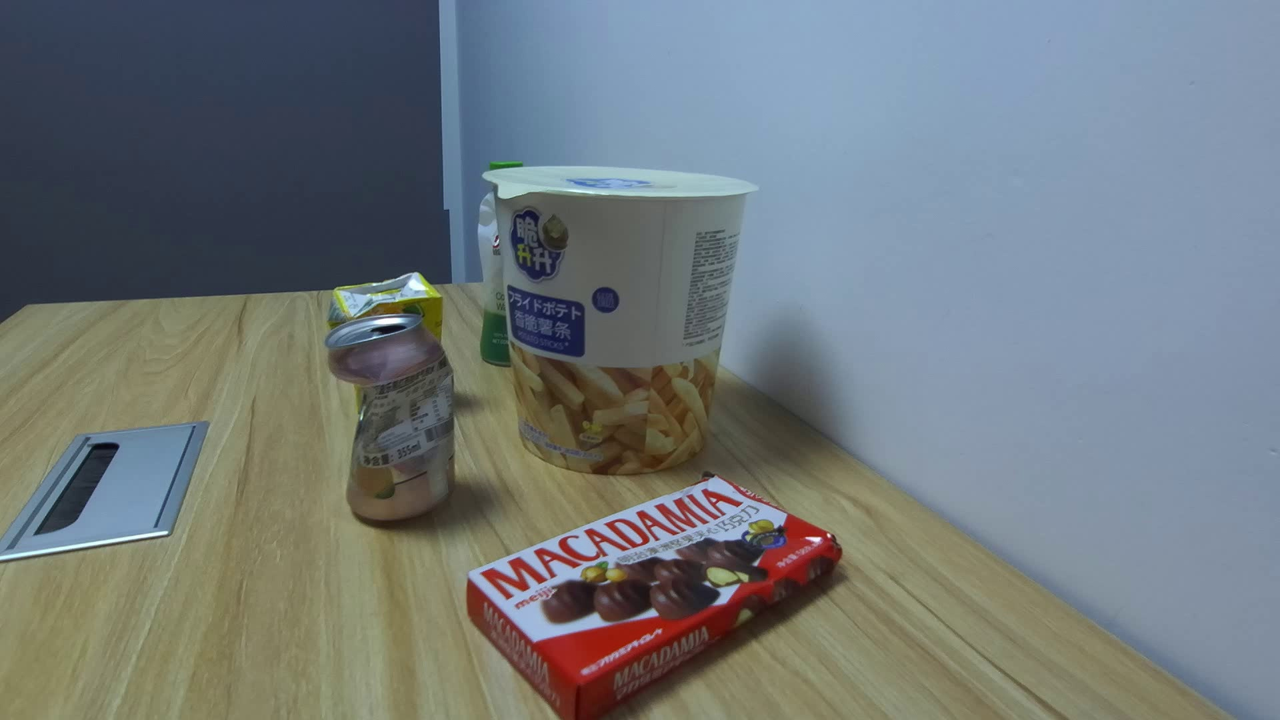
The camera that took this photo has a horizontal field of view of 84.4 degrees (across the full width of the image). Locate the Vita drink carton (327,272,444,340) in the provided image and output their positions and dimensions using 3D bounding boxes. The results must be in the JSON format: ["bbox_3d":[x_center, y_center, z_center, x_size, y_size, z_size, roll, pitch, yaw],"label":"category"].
[{"bbox_3d":[-0.201,-0.011,0.566,0.087,0.108,0.042,-8,37,-22],"label":"Vita drink carton"}]

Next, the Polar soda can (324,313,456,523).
[{"bbox_3d":[-0.155,0.035,0.427,0.071,0.122,0.067,9,26,22],"label":"Polar soda can"}]

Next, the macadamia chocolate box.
[{"bbox_3d":[0.014,0.111,0.368,0.184,0.028,0.105,-14,25,-40],"label":"macadamia chocolate box"}]

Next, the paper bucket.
[{"bbox_3d":[-0.016,-0.036,0.520,0.198,0.194,0.198,2,20,0],"label":"paper bucket"}]
